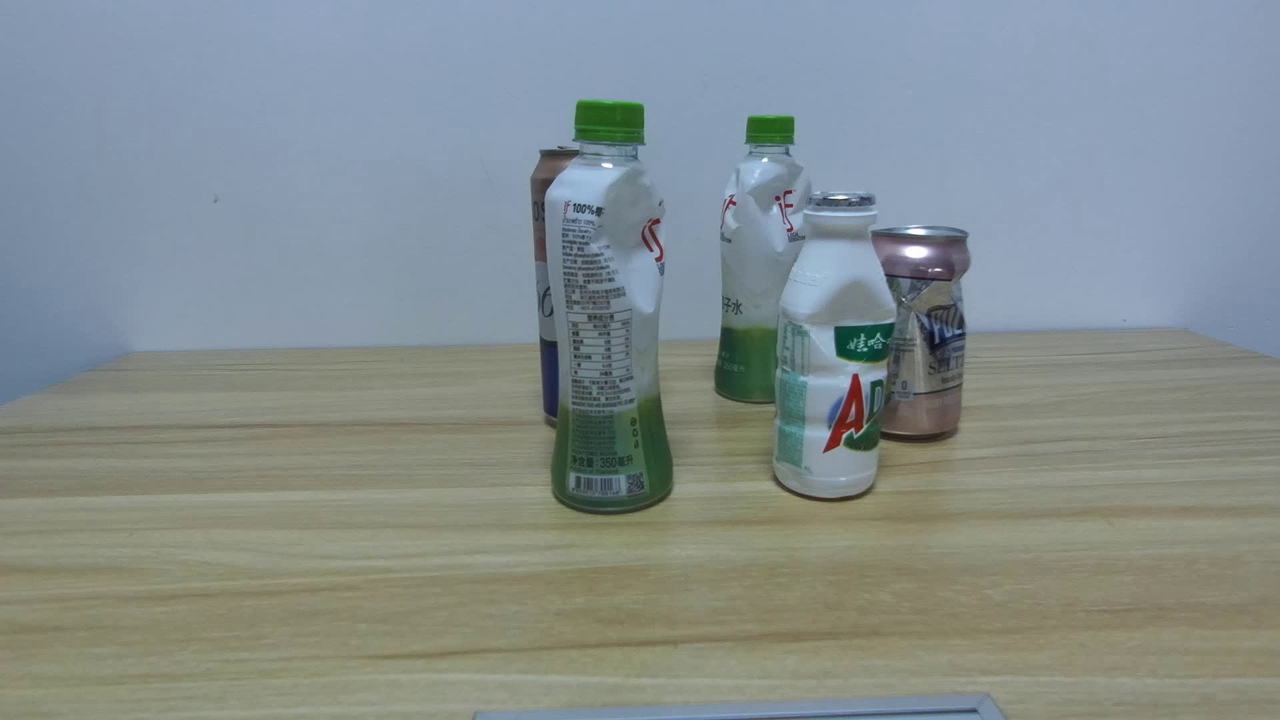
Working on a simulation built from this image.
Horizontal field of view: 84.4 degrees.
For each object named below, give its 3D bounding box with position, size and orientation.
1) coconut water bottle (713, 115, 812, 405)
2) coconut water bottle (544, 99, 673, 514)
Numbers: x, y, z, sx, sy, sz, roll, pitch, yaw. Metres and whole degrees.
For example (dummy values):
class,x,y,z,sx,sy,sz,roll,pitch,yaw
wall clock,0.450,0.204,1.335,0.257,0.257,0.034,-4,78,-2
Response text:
class,x,y,z,sx,sy,sz,roll,pitch,yaw
coconut water bottle,0.087,-0.068,0.492,0.067,0.187,0.067,1,15,0
coconut water bottle,-0.014,-0.025,0.341,0.069,0.187,0.069,0,13,0
